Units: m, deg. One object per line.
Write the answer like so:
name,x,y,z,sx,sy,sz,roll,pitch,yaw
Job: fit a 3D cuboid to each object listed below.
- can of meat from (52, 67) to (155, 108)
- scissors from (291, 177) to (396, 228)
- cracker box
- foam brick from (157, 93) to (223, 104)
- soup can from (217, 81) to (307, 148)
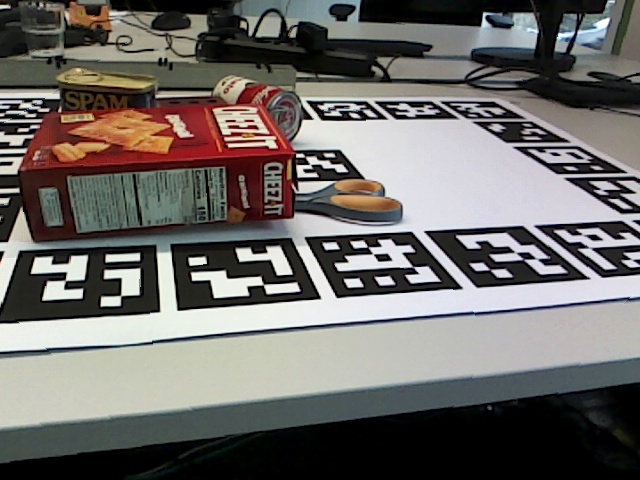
can of meat,-0.233,-0.138,0.676,0.102,0.083,0.058,6,31,-2
scissors,-0.032,-0.032,0.582,0.202,0.016,0.088,-5,32,-18
cracker box,-0.149,-0.073,0.568,0.213,0.072,0.165,-8,32,-16
foam brick,-0.150,-0.141,0.735,0.078,0.051,0.053,-8,34,-23
soup can,-0.077,-0.158,0.777,0.103,0.068,0.067,21,33,34
